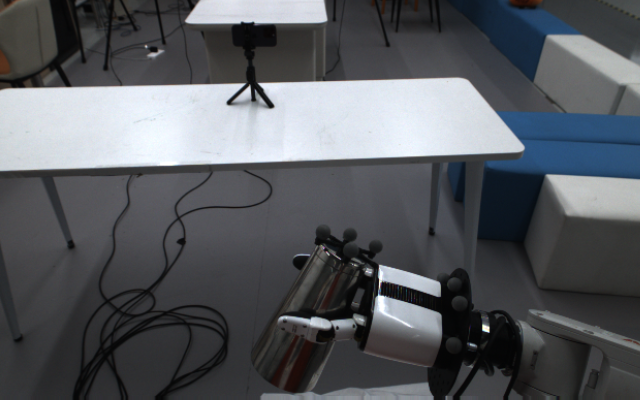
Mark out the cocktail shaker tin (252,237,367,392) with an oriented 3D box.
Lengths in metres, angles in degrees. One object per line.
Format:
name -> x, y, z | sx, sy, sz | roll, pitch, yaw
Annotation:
cocktail shaker tin -> -0.007, 0.136, 0.595 | 0.093, 0.170, 0.093 | 24, 13, -6
